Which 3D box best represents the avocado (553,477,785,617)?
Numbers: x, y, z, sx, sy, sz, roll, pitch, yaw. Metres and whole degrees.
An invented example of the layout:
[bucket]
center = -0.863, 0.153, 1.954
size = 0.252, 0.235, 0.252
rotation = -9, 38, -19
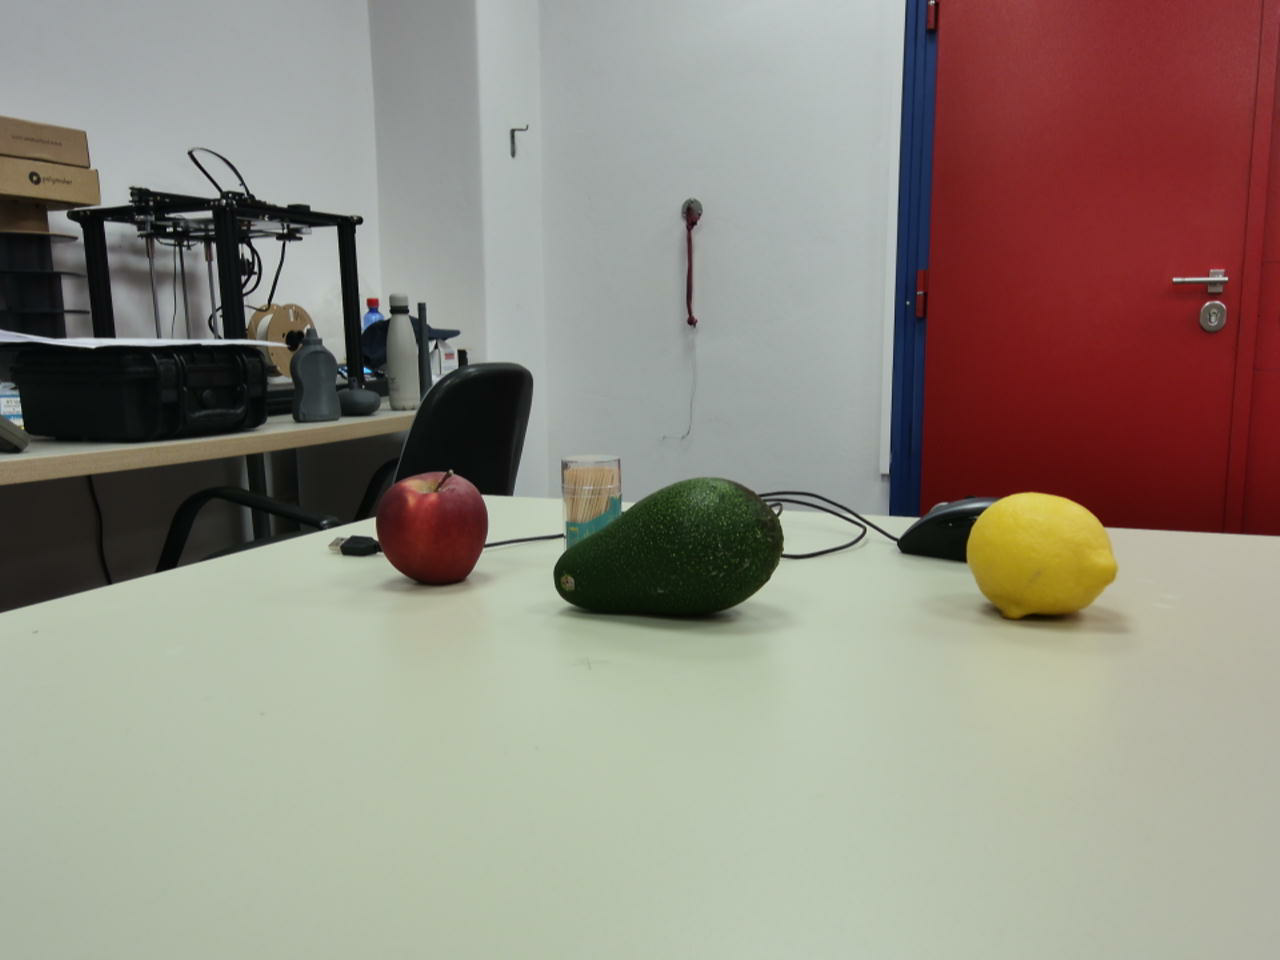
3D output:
[avocado]
center = 0.020, 0.035, 0.550
size = 0.123, 0.076, 0.074
rotation = 3, 7, 30
